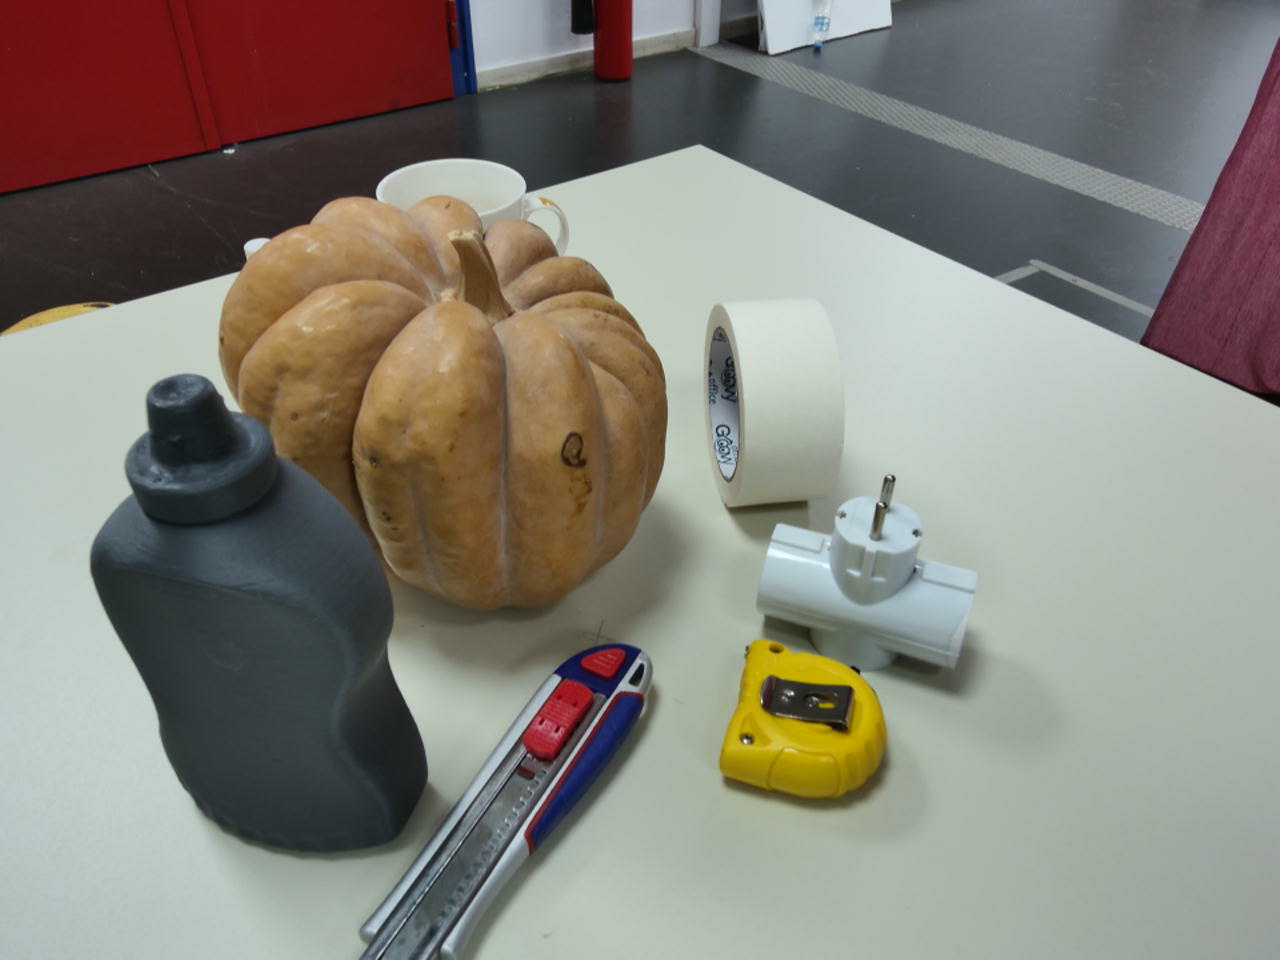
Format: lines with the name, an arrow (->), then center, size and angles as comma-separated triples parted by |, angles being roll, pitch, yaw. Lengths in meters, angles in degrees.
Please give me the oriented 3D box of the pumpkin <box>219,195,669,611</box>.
pumpkin -> -0.083, -0.034, 0.456 | 0.199, 0.177, 0.198 | 1, 38, 0
